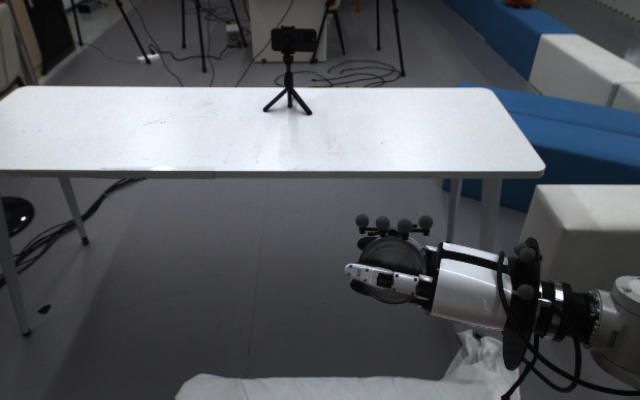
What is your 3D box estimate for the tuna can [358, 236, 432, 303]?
[{"bbox_3d":[0.095,0.084,0.610,0.085,0.085,0.034,15,10,18],"label":"tuna can"}]
